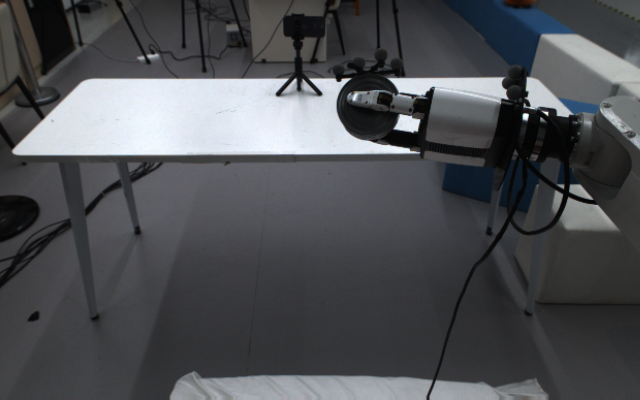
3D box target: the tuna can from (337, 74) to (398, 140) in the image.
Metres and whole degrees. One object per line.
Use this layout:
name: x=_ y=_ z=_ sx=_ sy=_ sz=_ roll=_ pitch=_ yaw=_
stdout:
tuna can: x=0.067 y=-0.127 z=0.661 sx=0.085 sy=0.085 sz=0.034 roll=10 pitch=-6 yaw=11
